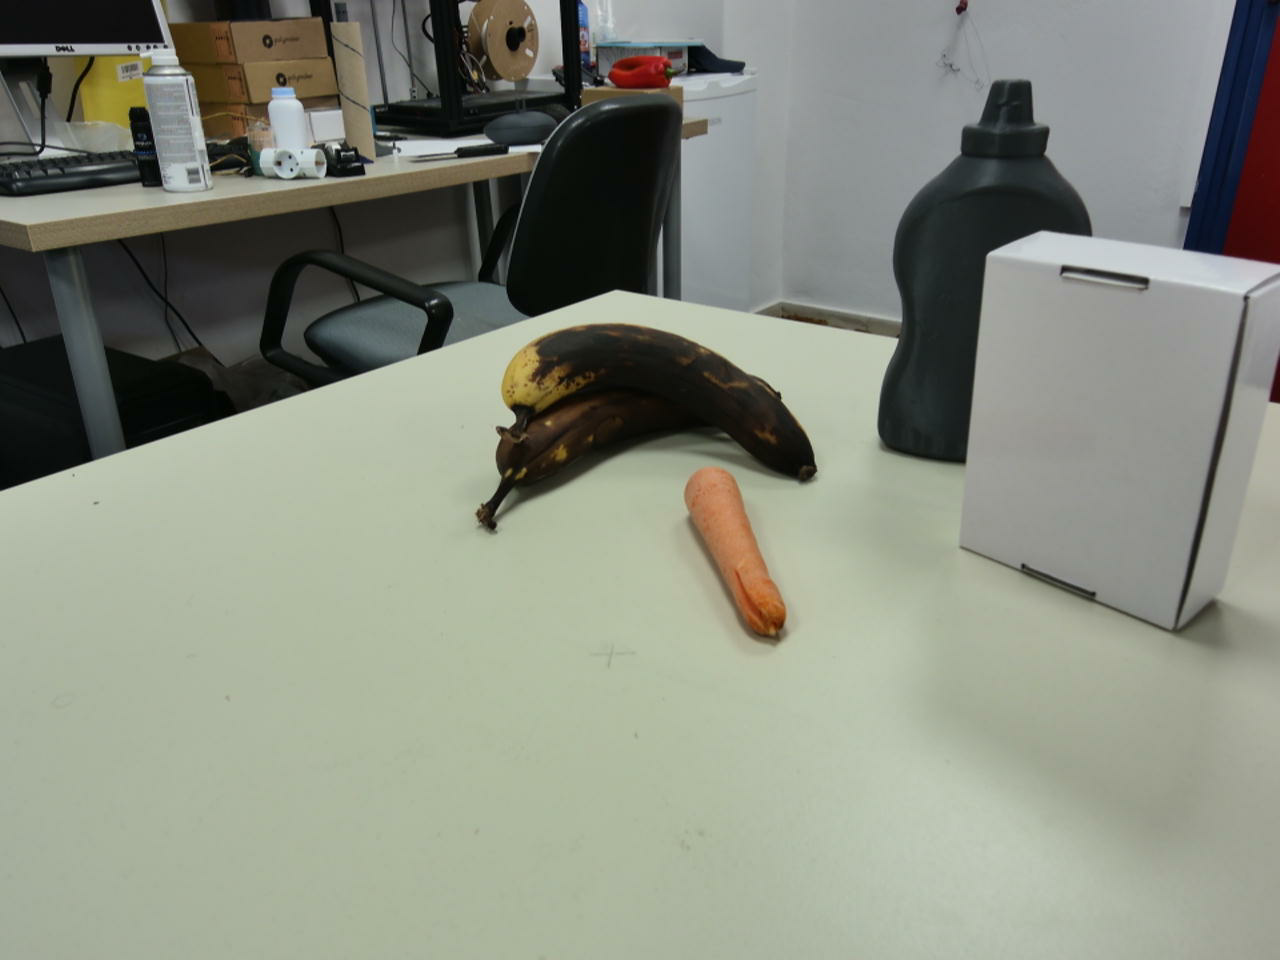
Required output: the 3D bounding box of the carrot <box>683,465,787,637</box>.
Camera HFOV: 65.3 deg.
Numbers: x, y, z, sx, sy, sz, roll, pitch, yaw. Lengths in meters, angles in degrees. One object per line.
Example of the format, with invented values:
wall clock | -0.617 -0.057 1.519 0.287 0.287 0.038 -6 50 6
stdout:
carrot | 0.044 0.028 0.473 0.030 0.032 0.136 -3 23 -7
